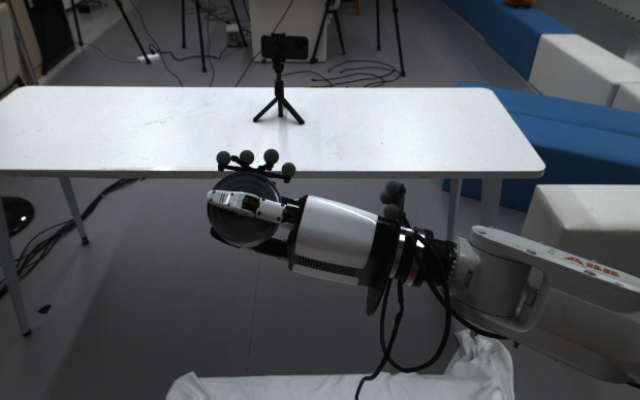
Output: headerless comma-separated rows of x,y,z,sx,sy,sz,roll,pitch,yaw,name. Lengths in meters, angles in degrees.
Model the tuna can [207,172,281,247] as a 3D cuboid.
-0.086,0.010,0.568,0.085,0.034,0.085,1,72,-3,tuna can
